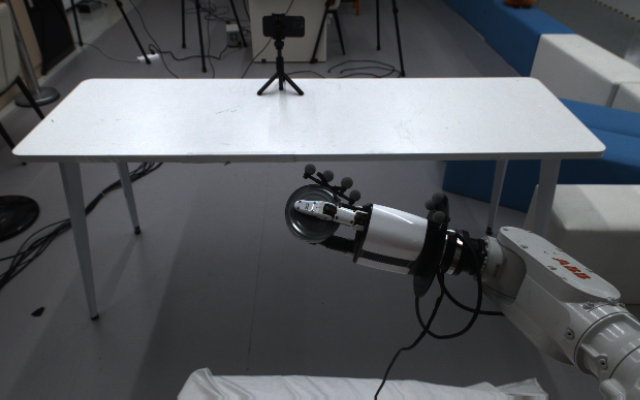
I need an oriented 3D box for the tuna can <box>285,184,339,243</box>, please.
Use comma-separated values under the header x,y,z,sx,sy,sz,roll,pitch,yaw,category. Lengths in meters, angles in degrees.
x,y,z,sx,sy,sz,roll,pitch,yaw,category
-0.010,0.021,0.726,0.085,0.034,0.085,1,75,-4,tuna can
